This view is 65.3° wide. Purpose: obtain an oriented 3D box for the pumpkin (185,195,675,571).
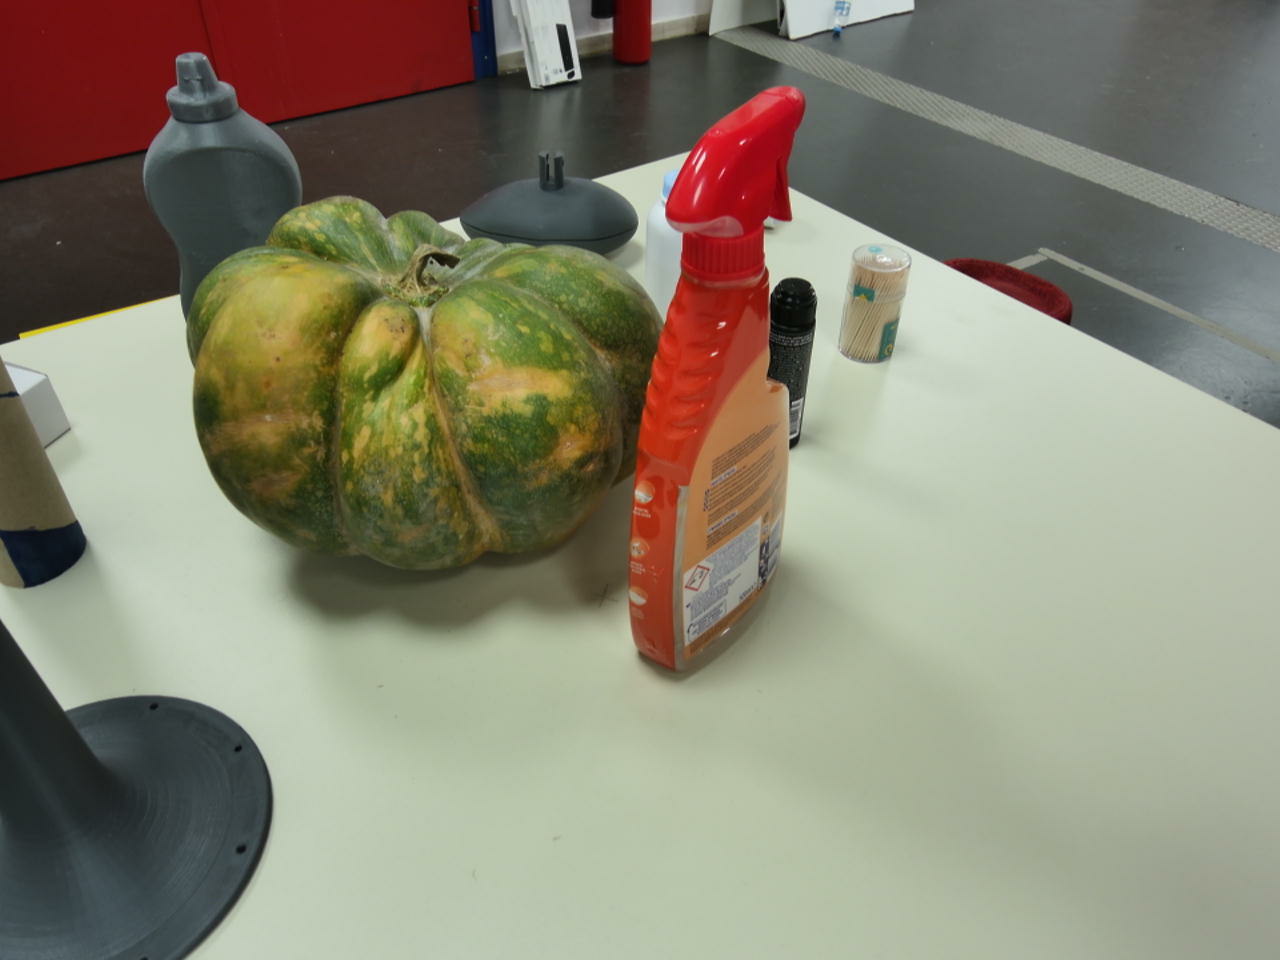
[{"bbox_3d":[-0.118,-0.060,0.547,0.270,0.173,0.237,0,38,0],"label":"pumpkin"}]
